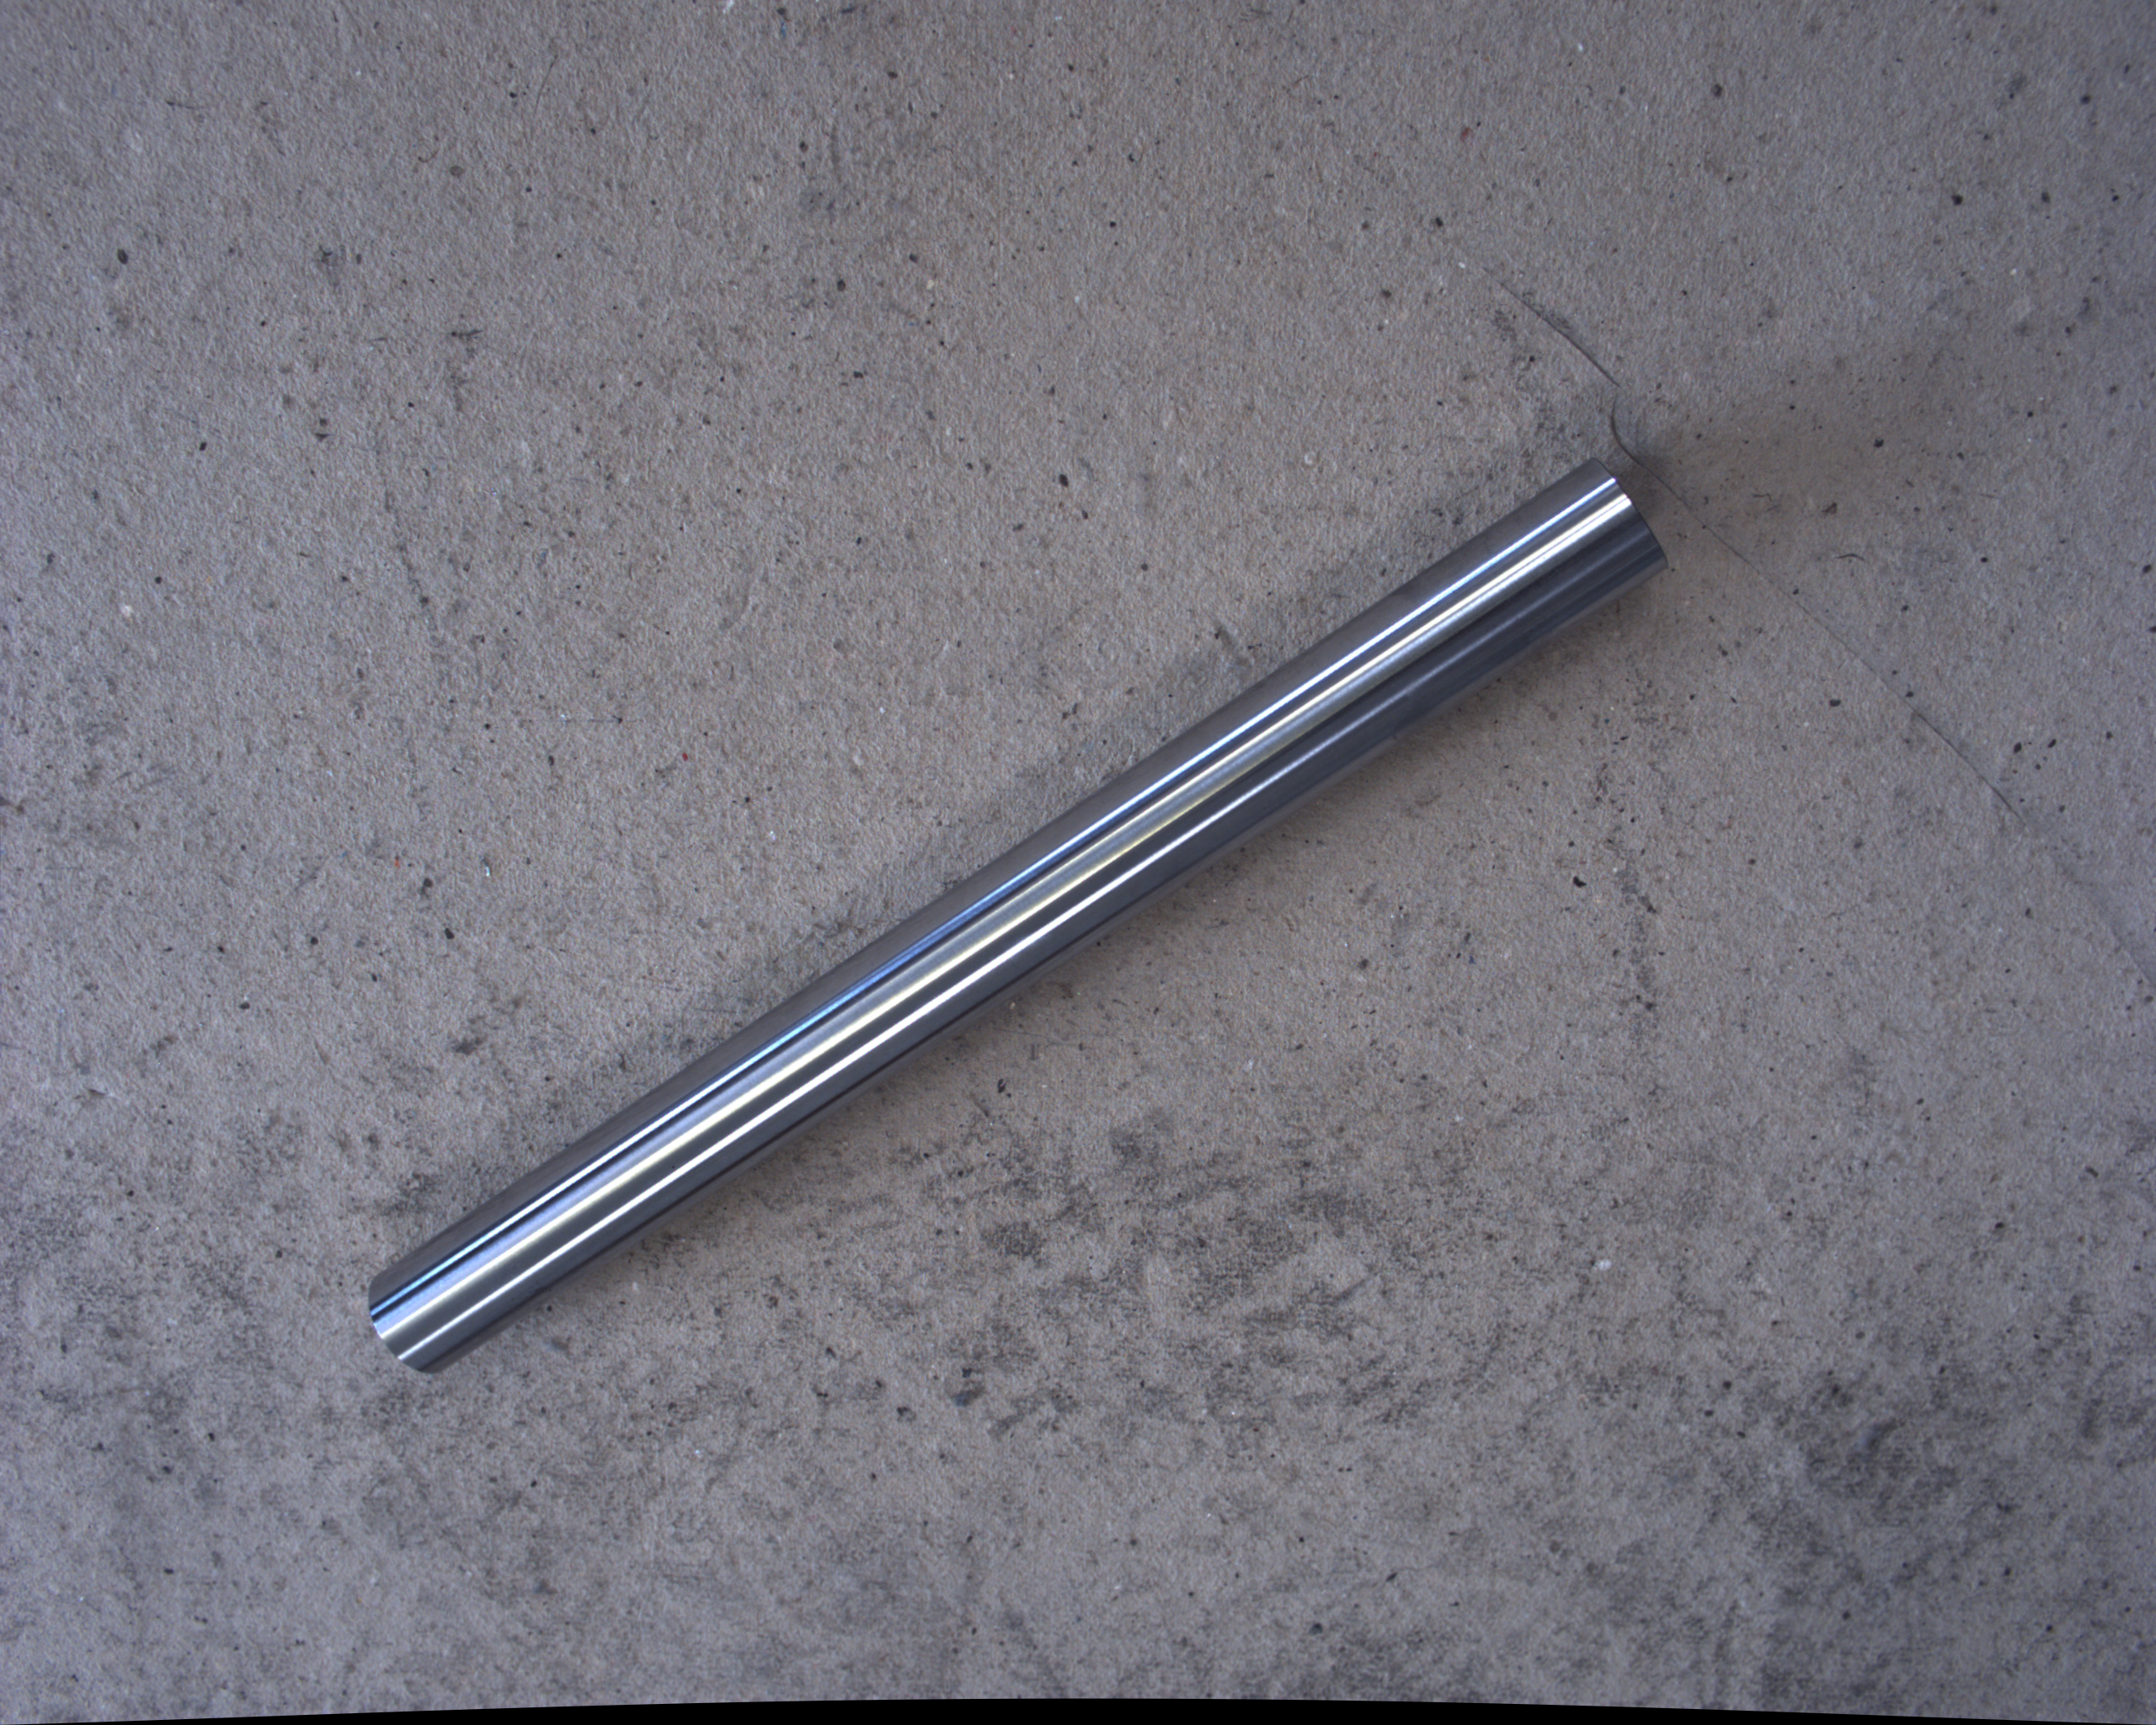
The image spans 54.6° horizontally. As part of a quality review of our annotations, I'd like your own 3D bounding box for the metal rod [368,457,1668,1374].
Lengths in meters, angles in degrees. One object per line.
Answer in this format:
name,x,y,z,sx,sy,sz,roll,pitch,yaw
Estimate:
metal rod,-0.020,0.016,0.417,0.300,0.025,0.025,-34,107,11
